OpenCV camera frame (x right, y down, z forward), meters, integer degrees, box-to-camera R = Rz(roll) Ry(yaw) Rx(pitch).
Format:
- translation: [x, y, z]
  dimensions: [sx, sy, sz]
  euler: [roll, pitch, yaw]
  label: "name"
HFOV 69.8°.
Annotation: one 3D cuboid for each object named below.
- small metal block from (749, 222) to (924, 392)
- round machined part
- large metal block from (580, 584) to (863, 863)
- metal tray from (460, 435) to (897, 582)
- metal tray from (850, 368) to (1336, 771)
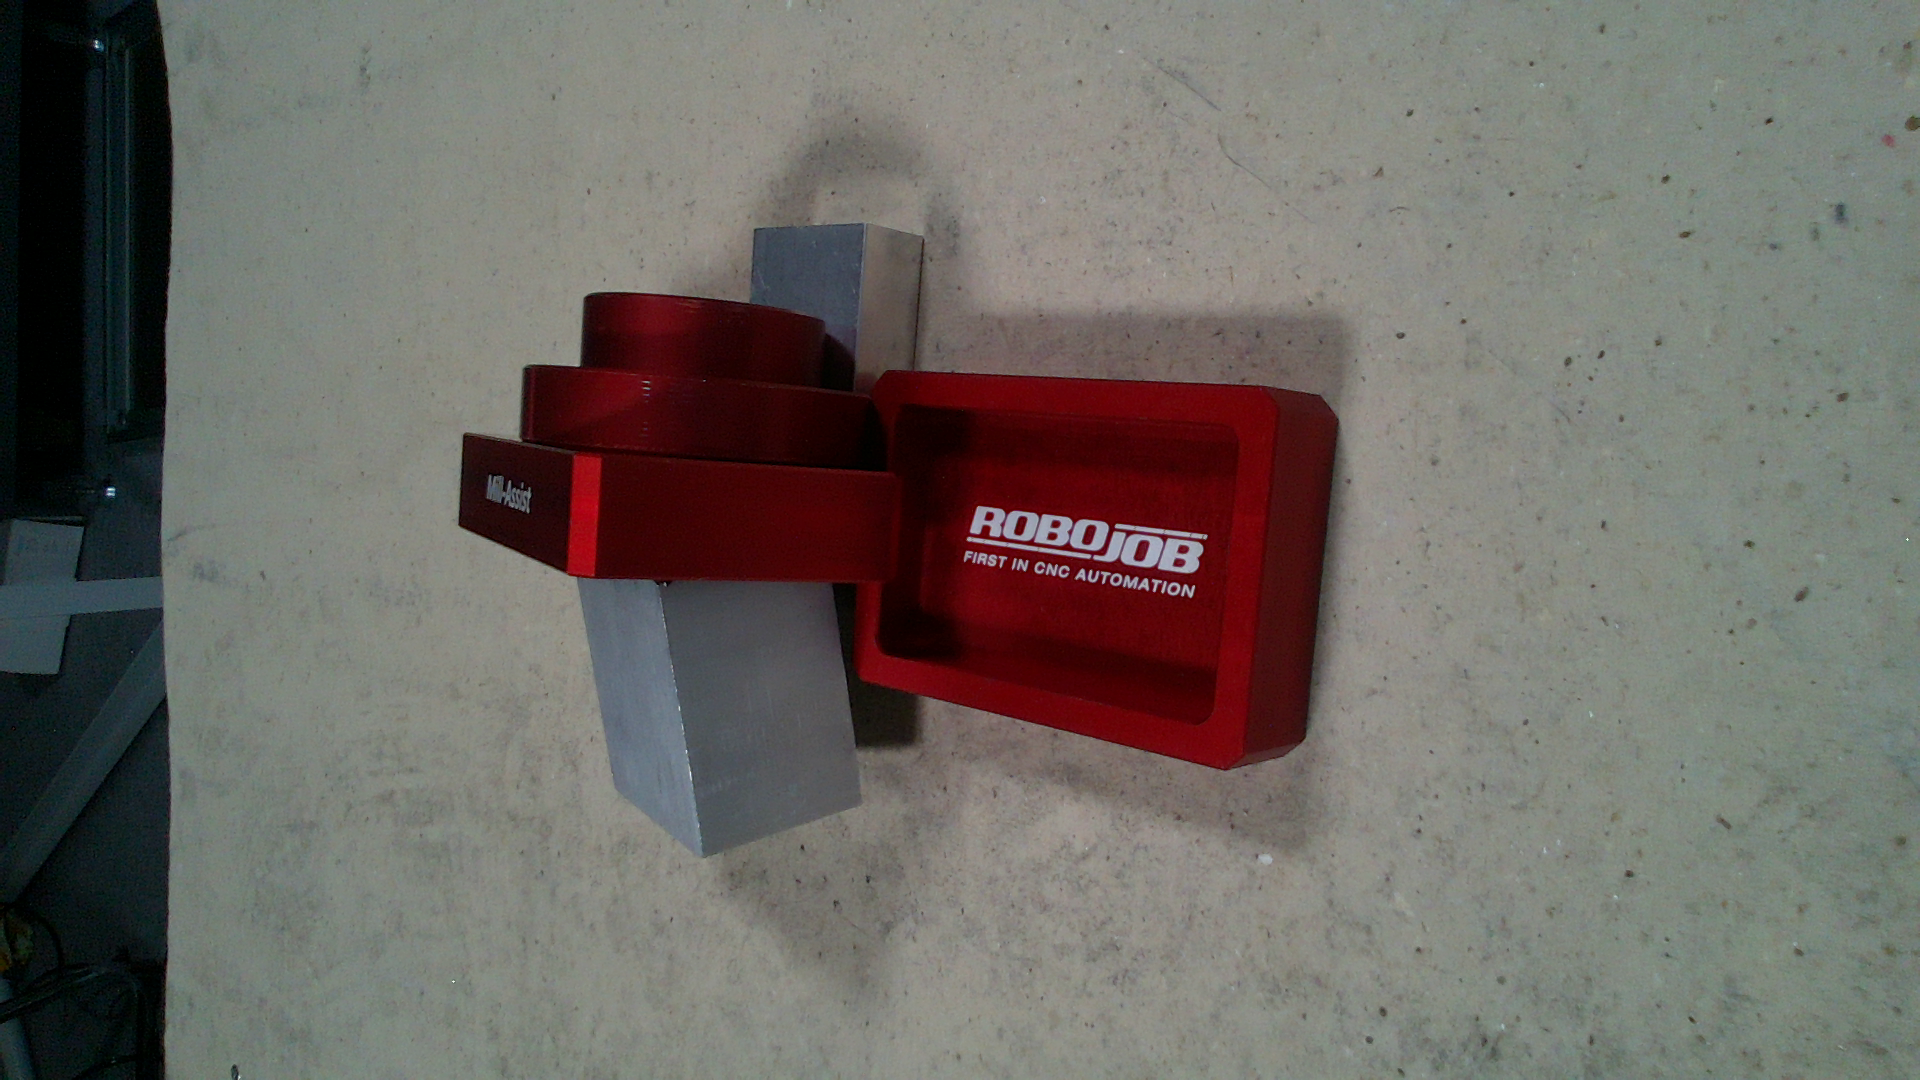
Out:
- translation: [-0.040, -0.071, 0.429]
  dimensions: [0.050, 0.025, 0.050]
  euler: [8, 95, 40]
  label: "small metal block"
- translation: [-0.075, -0.046, 0.396]
  dimensions: [0.098, 0.098, 0.042]
  euler: [8, 95, 40]
  label: "round machined part"
- translation: [-0.075, 0.041, 0.418]
  dimensions: [0.080, 0.050, 0.080]
  euler: [11, 110, 58]
  label: "large metal block"
- translation: [-0.087, -0.011, 0.403]
  dimensions: [0.130, 0.090, 0.030]
  euler: [12, 99, 58]
  label: "metal tray"
- translation: [0.030, 0.002, 0.367]
  dimensions: [0.129, 0.030, 0.090]
  euler: [8, 95, 40]
  label: "metal tray"
